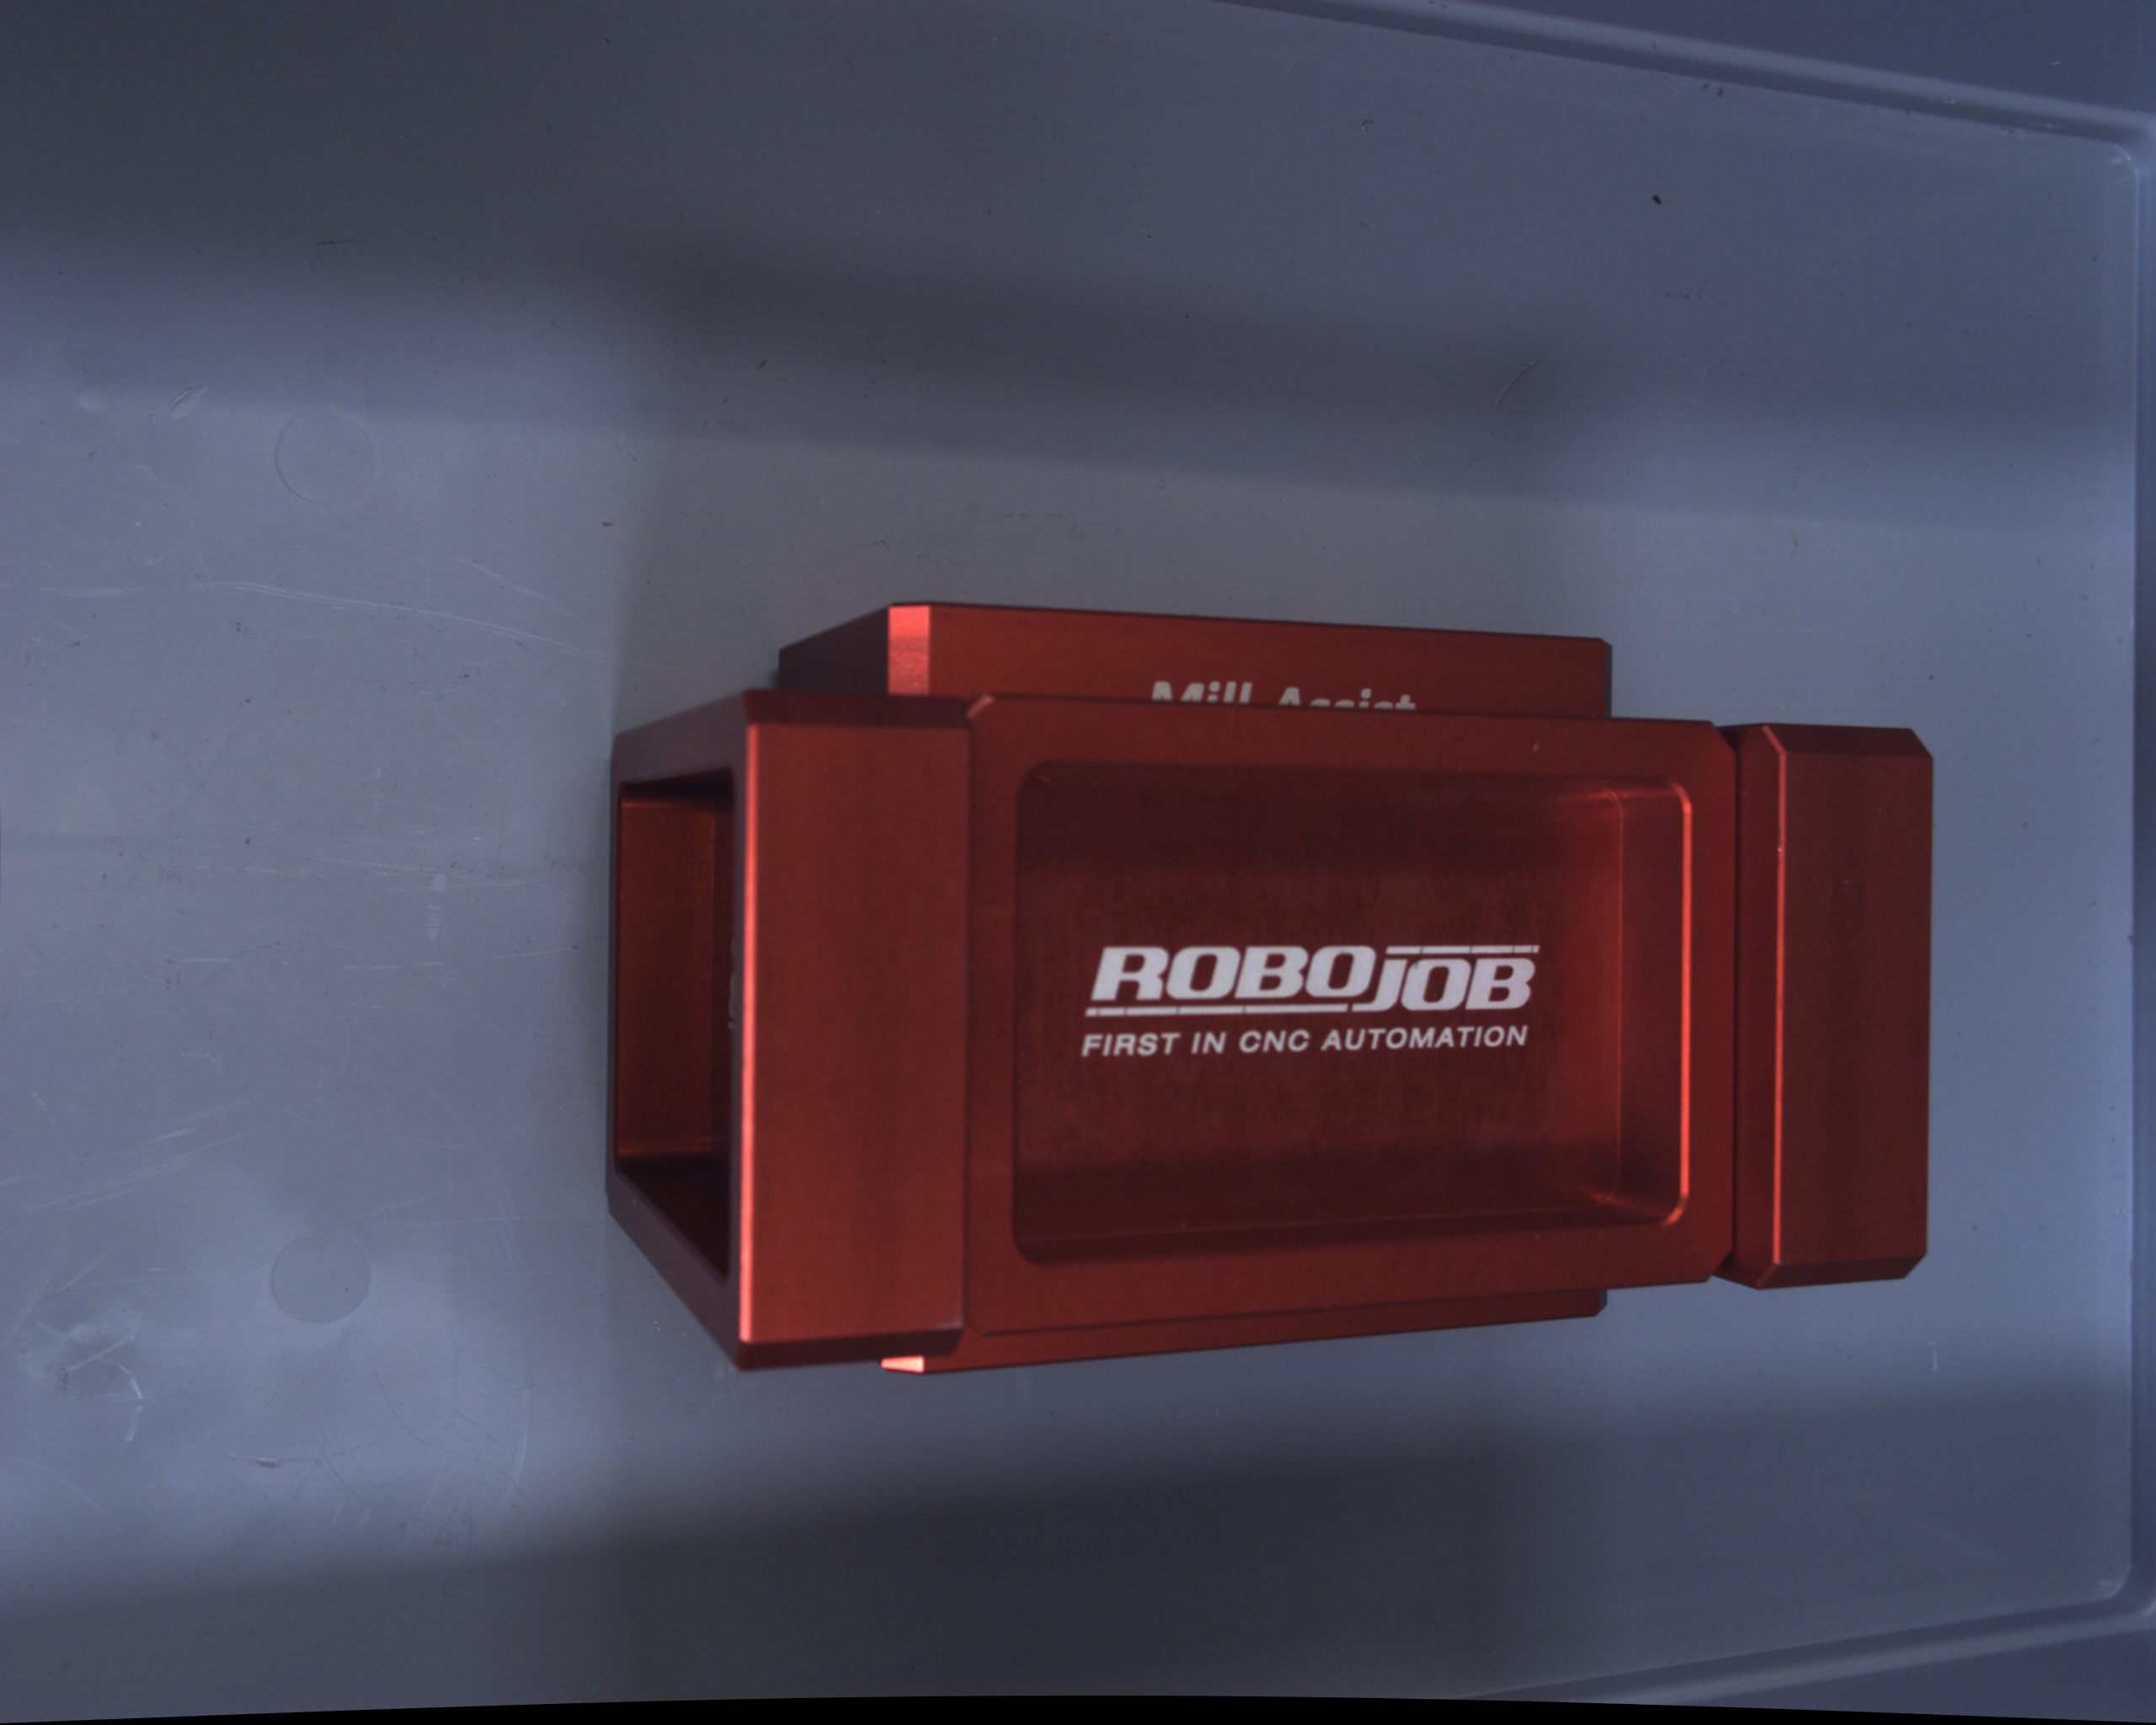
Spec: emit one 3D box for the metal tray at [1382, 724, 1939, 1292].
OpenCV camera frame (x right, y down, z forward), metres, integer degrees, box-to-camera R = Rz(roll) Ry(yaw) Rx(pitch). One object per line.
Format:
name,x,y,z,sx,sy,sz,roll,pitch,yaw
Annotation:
metal tray,0.101,0.022,0.389,0.030,0.130,0.089,1,90,-20

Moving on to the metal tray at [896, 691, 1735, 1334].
metal tray,0.039,0.021,0.324,0.131,0.030,0.089,1,89,-20

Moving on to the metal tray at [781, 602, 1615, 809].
metal tray,0.019,-0.025,0.380,0.131,0.090,0.030,0,91,-20

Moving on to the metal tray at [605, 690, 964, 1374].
metal tray,-0.052,0.021,0.334,0.030,0.130,0.089,1,91,-20

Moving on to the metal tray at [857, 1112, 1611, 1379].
metal tray,0.018,0.064,0.379,0.131,0.090,0.030,0,90,-20
